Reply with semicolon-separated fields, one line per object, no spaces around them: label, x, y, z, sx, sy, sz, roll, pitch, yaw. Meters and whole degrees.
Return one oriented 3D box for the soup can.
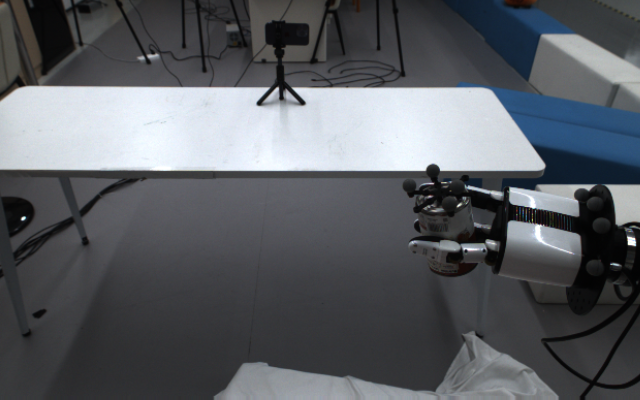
soup can;0.165;0.037;0.617;0.067;0.101;0.067;-13;31;8
